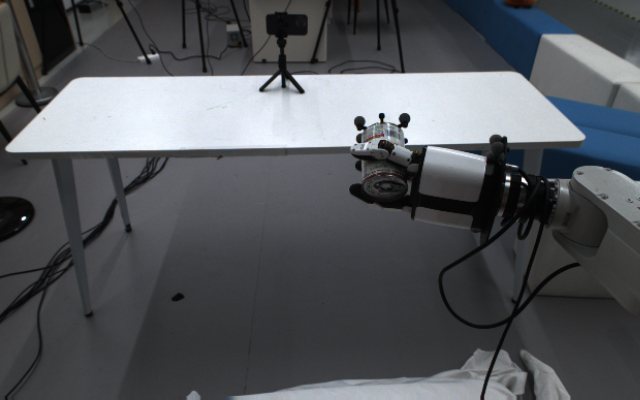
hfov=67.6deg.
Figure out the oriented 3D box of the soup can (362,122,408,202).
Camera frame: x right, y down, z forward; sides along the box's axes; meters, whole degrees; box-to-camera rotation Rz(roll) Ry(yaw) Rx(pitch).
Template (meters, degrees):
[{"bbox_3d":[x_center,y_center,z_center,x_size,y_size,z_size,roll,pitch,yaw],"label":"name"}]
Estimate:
[{"bbox_3d":[0.095,-0.058,0.721,0.067,0.067,0.101,3,57,1],"label":"soup can"}]
